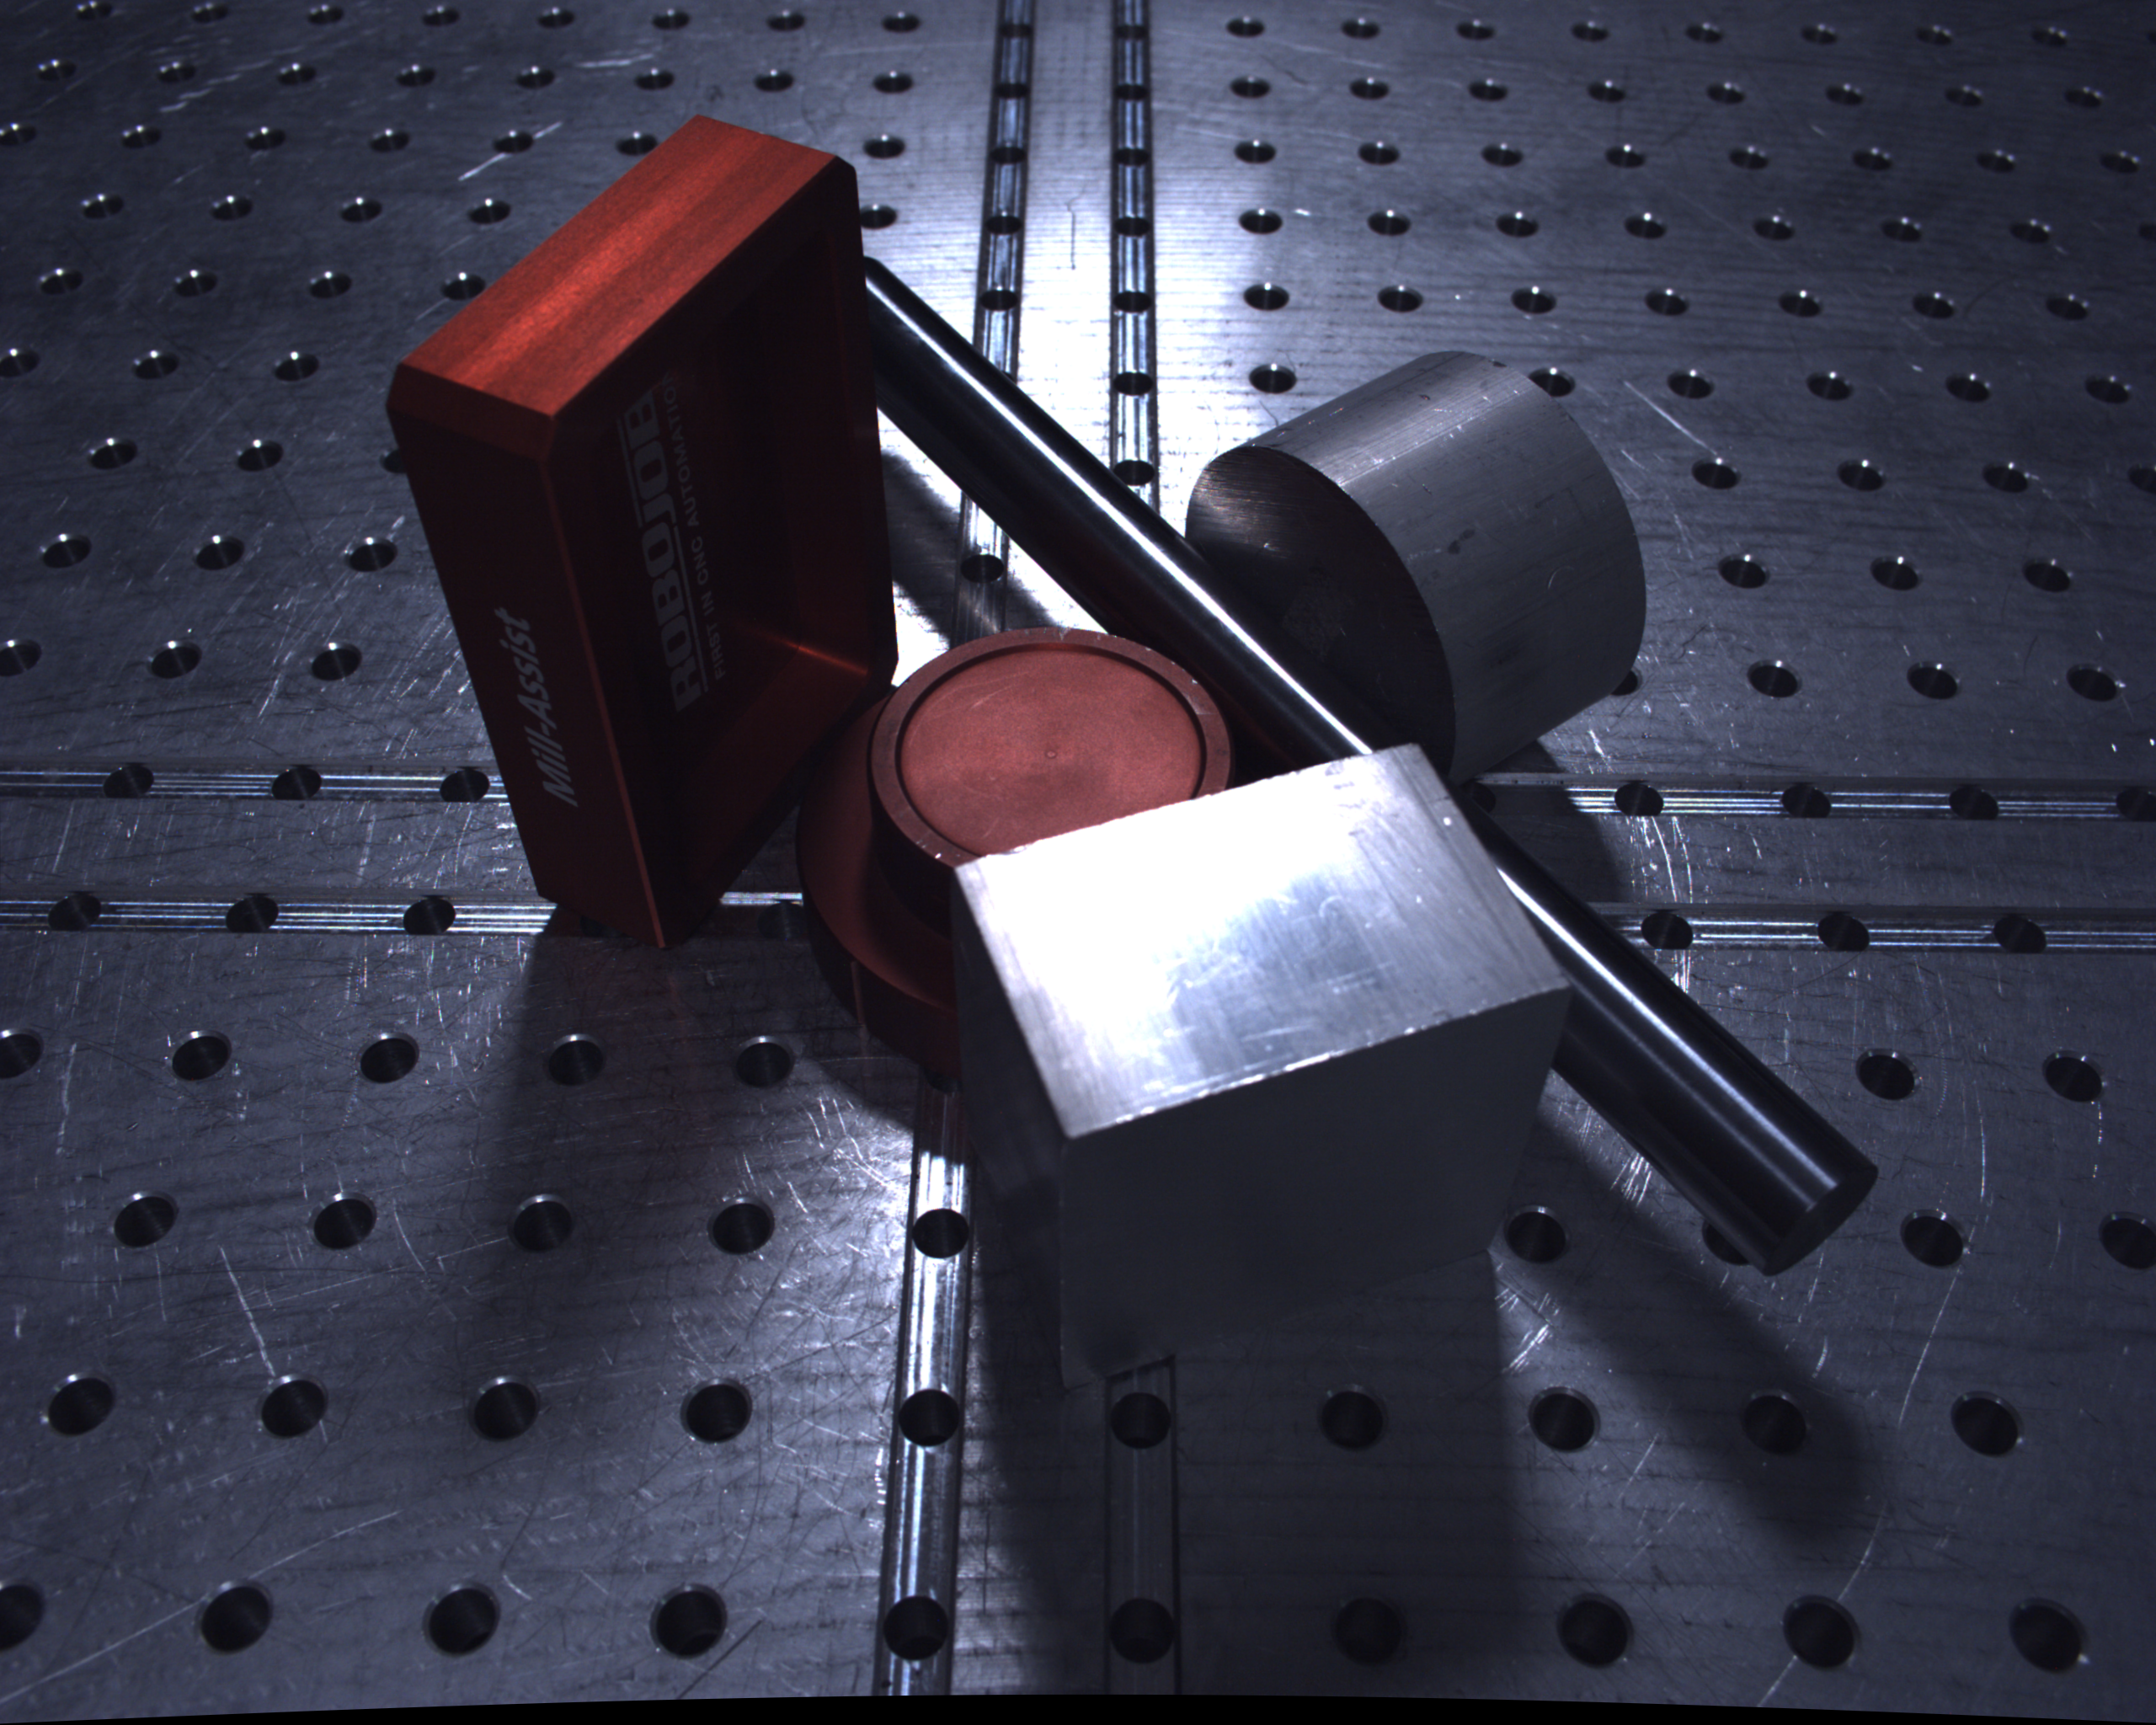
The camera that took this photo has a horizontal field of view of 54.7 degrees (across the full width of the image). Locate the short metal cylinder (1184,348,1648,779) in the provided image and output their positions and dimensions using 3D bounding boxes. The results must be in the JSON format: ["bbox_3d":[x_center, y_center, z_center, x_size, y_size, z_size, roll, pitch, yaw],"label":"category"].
[{"bbox_3d":[0.066,-0.056,0.418,0.050,0.080,0.080,-30,57,-23],"label":"short metal cylinder"}]

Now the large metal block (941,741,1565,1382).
[{"bbox_3d":[0.025,0.034,0.344,0.081,0.080,0.050,-15,52,-13],"label":"large metal block"}]

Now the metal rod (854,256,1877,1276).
[{"bbox_3d":[0.032,-0.037,0.411,0.025,0.025,0.300,-28,56,-22],"label":"metal rod"}]

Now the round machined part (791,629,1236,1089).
[{"bbox_3d":[-0.006,-0.007,0.402,0.099,0.042,0.098,0,50,0],"label":"round machined part"}]

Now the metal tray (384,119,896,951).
[{"bbox_3d":[-0.073,-0.056,0.386,0.030,0.129,0.090,22,53,17],"label":"metal tray"}]
